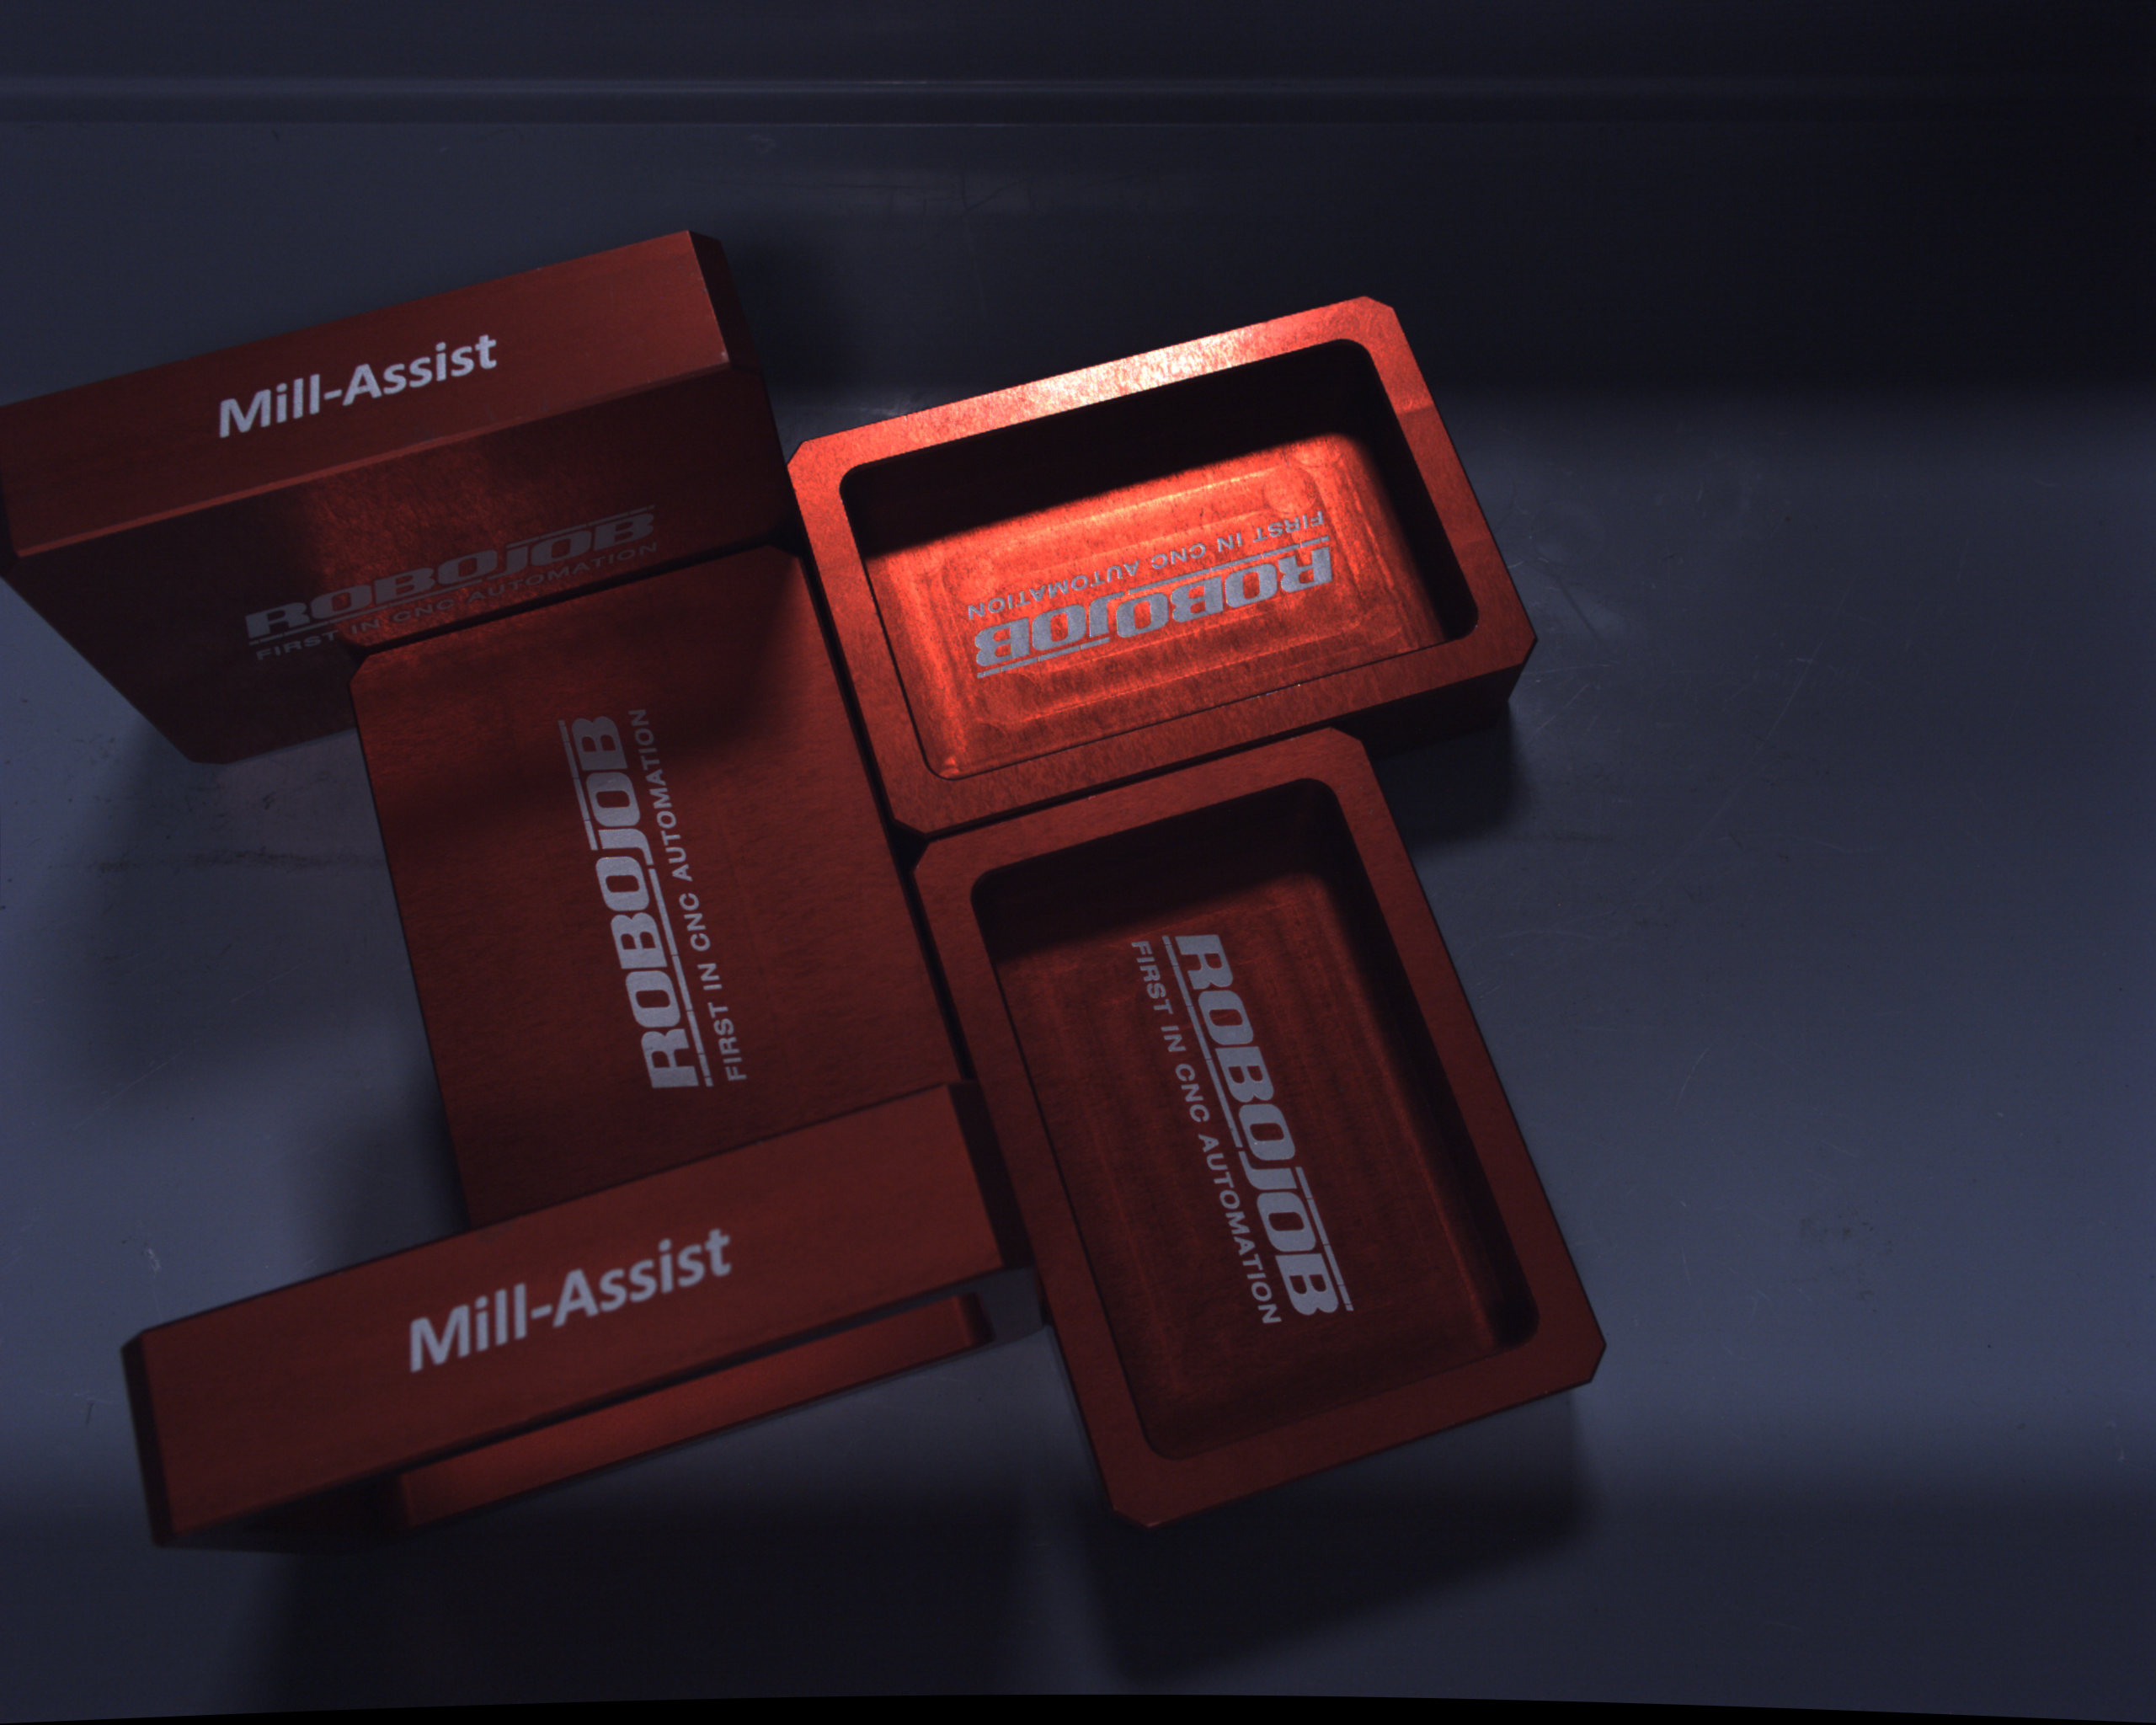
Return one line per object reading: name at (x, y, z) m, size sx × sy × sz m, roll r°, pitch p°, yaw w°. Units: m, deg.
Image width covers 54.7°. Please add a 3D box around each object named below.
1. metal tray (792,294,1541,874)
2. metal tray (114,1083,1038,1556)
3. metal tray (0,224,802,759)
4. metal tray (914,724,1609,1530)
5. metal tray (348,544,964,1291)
metal tray at (0.016, -0.057, 0.426) m, size 0.131 × 0.030 × 0.090 m, roll -16°, pitch 71°, yaw -6°
metal tray at (-0.073, 0.078, 0.343) m, size 0.131 × 0.090 × 0.030 m, roll -16°, pitch 71°, yaw -6°
metal tray at (-0.122, -0.066, 0.394) m, size 0.131 × 0.090 × 0.030 m, roll -17°, pitch 71°, yaw -7°
metal tray at (0.031, 0.047, 0.388) m, size 0.091 × 0.030 × 0.130 m, roll -16°, pitch 71°, yaw -6°
metal tray at (-0.079, 0.011, 0.399) m, size 0.091 × 0.030 × 0.130 m, roll -16°, pitch 71°, yaw -6°
